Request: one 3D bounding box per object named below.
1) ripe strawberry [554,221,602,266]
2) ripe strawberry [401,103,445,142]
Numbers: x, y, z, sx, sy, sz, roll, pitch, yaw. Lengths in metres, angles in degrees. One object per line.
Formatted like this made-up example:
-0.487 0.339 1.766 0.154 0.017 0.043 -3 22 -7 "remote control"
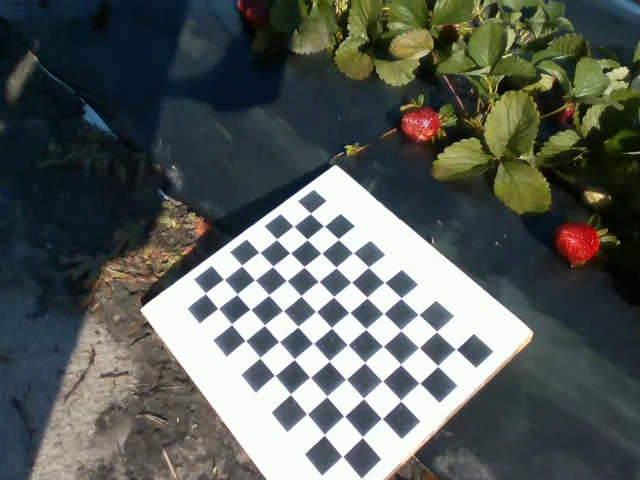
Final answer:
0.228 0.003 0.536 0.050 0.043 0.043 19 -38 -38 "ripe strawberry"
0.105 -0.126 0.642 0.053 0.042 0.043 -1 -41 -46 "ripe strawberry"
